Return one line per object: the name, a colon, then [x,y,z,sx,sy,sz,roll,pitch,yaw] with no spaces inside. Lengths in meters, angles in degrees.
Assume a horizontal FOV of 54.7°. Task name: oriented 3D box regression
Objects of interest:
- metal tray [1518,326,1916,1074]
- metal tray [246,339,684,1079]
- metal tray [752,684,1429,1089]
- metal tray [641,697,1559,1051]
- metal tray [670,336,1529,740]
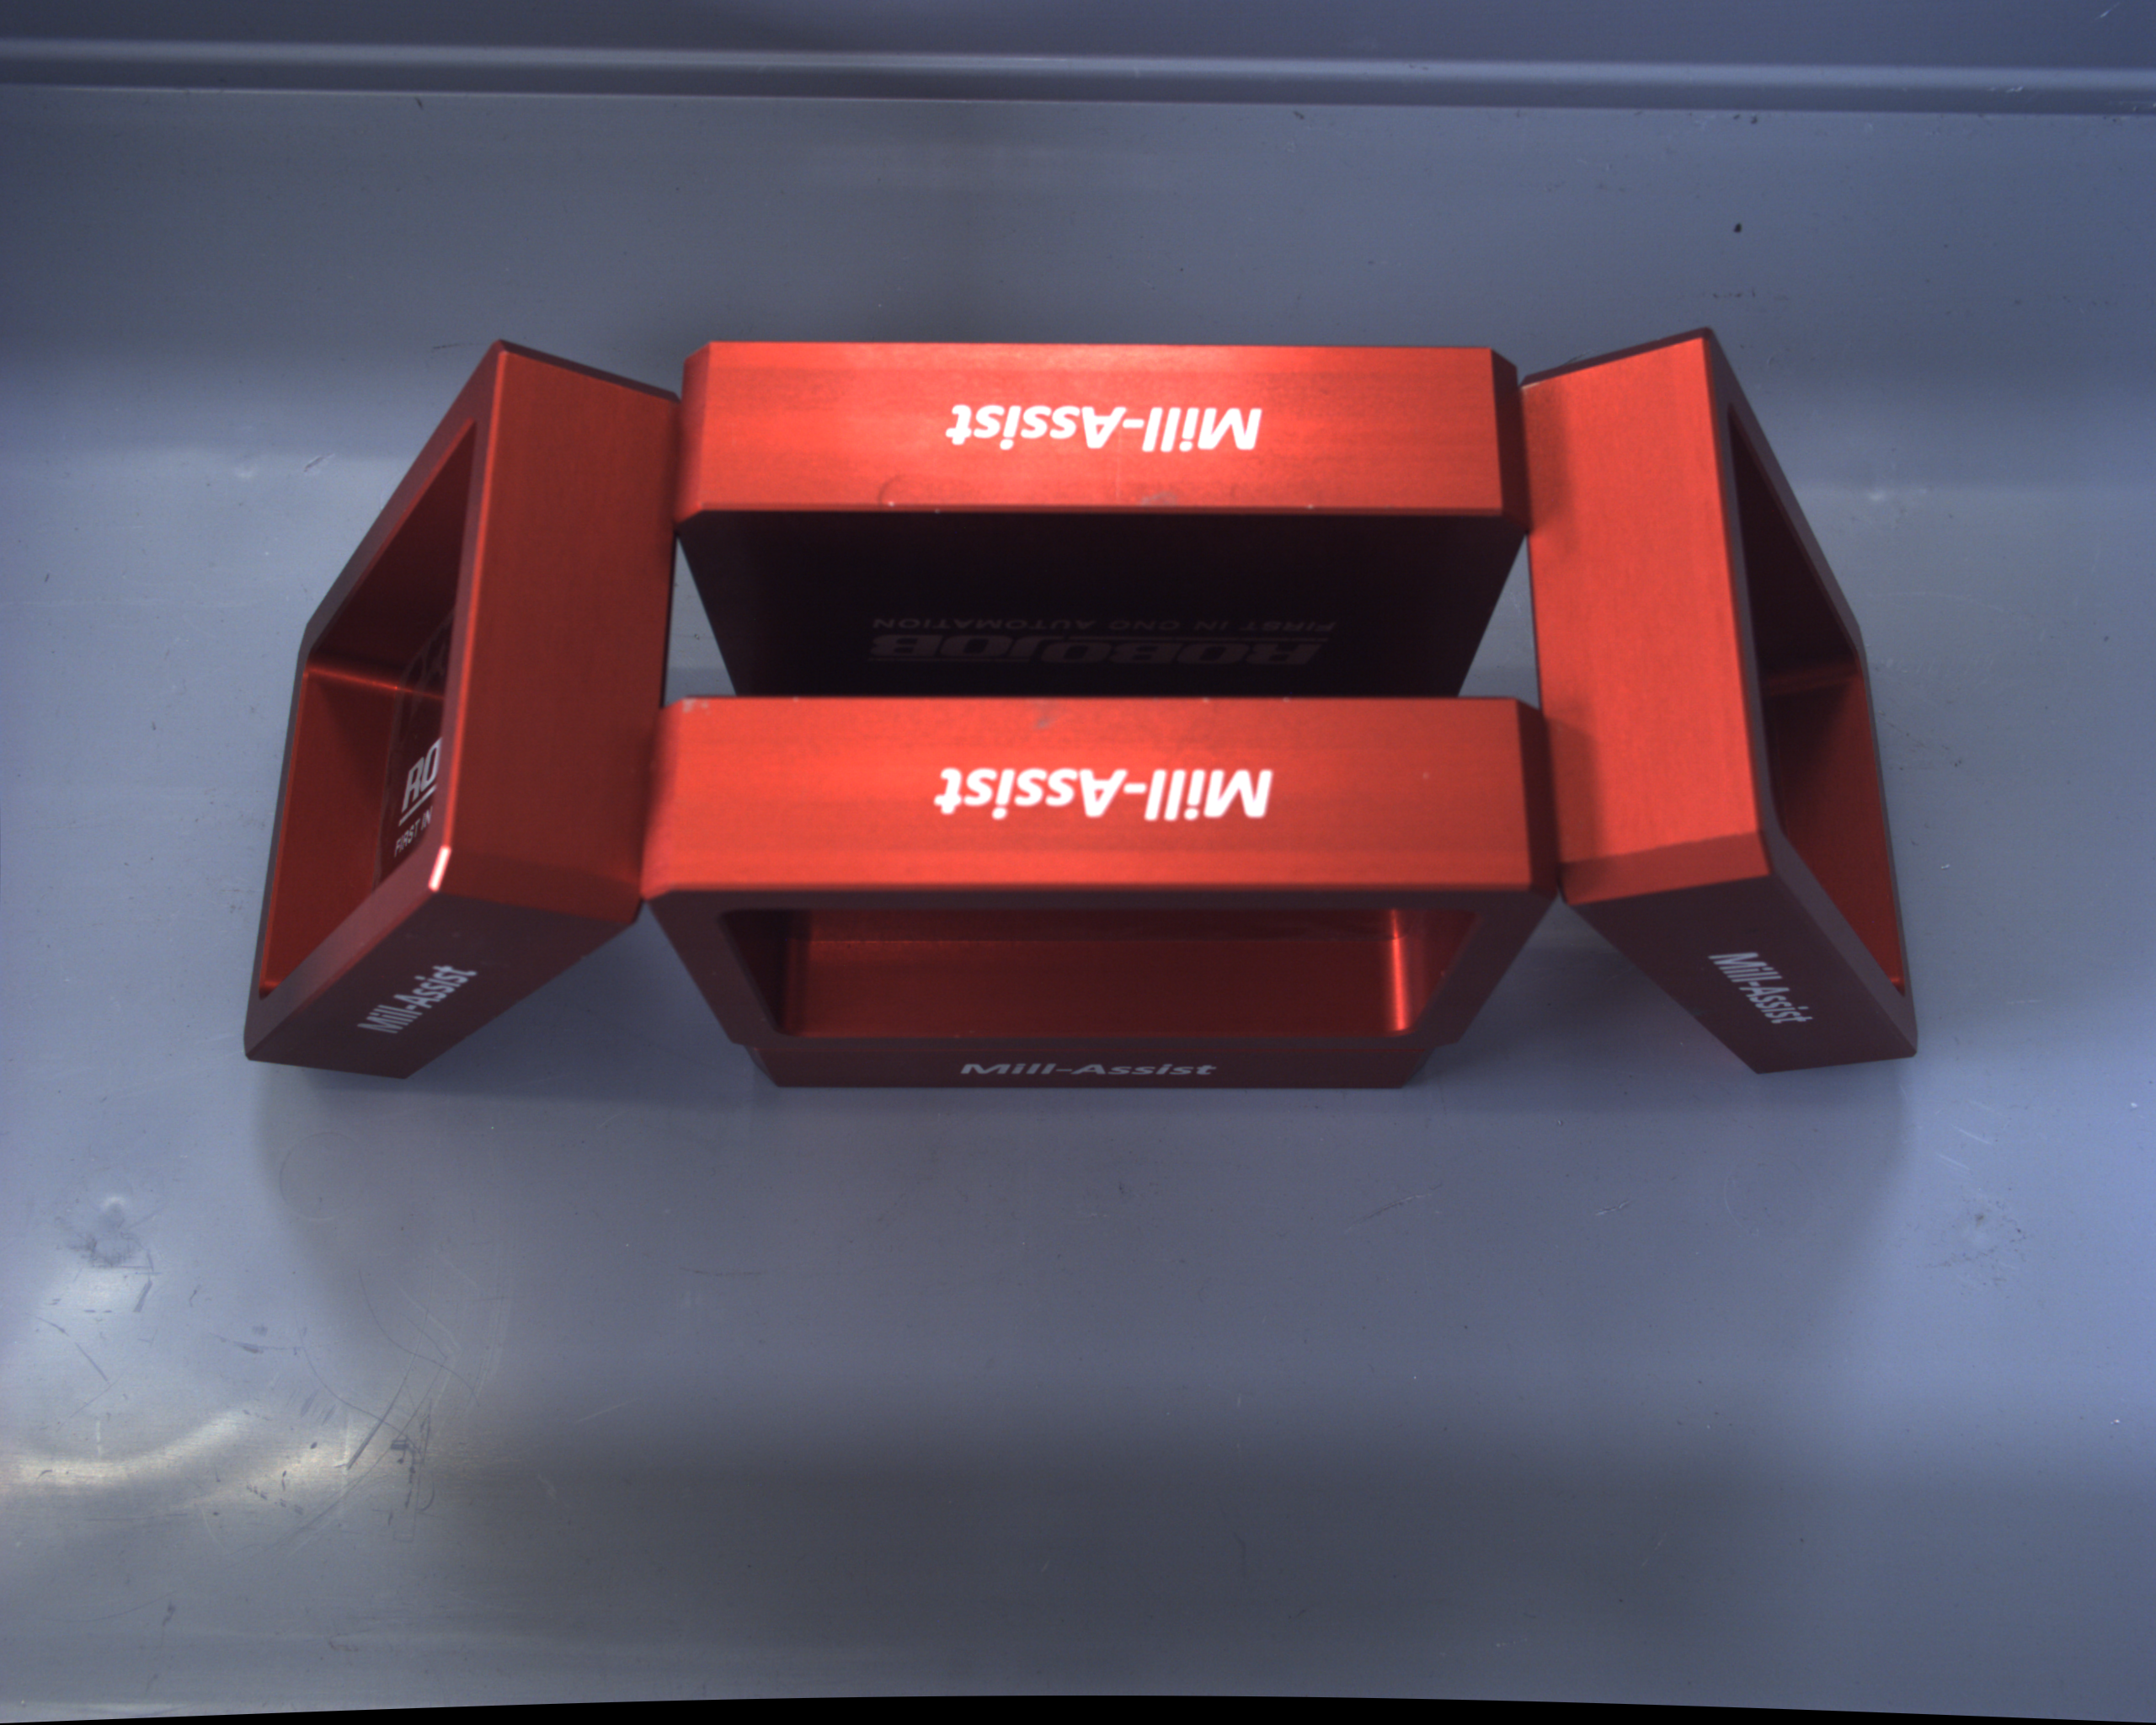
metal tray: [0.114,-0.021,0.362,0.030,0.130,0.090,-11,68,28]
metal tray: [-0.109,-0.019,0.360,0.030,0.130,0.090,12,68,-30]
metal tray: [0.002,-0.003,0.407,0.131,0.030,0.090,0,70,-1]
metal tray: [0.003,0.005,0.340,0.131,0.090,0.030,0,70,-1]
metal tray: [0.003,-0.052,0.360,0.131,0.090,0.030,0,70,0]
